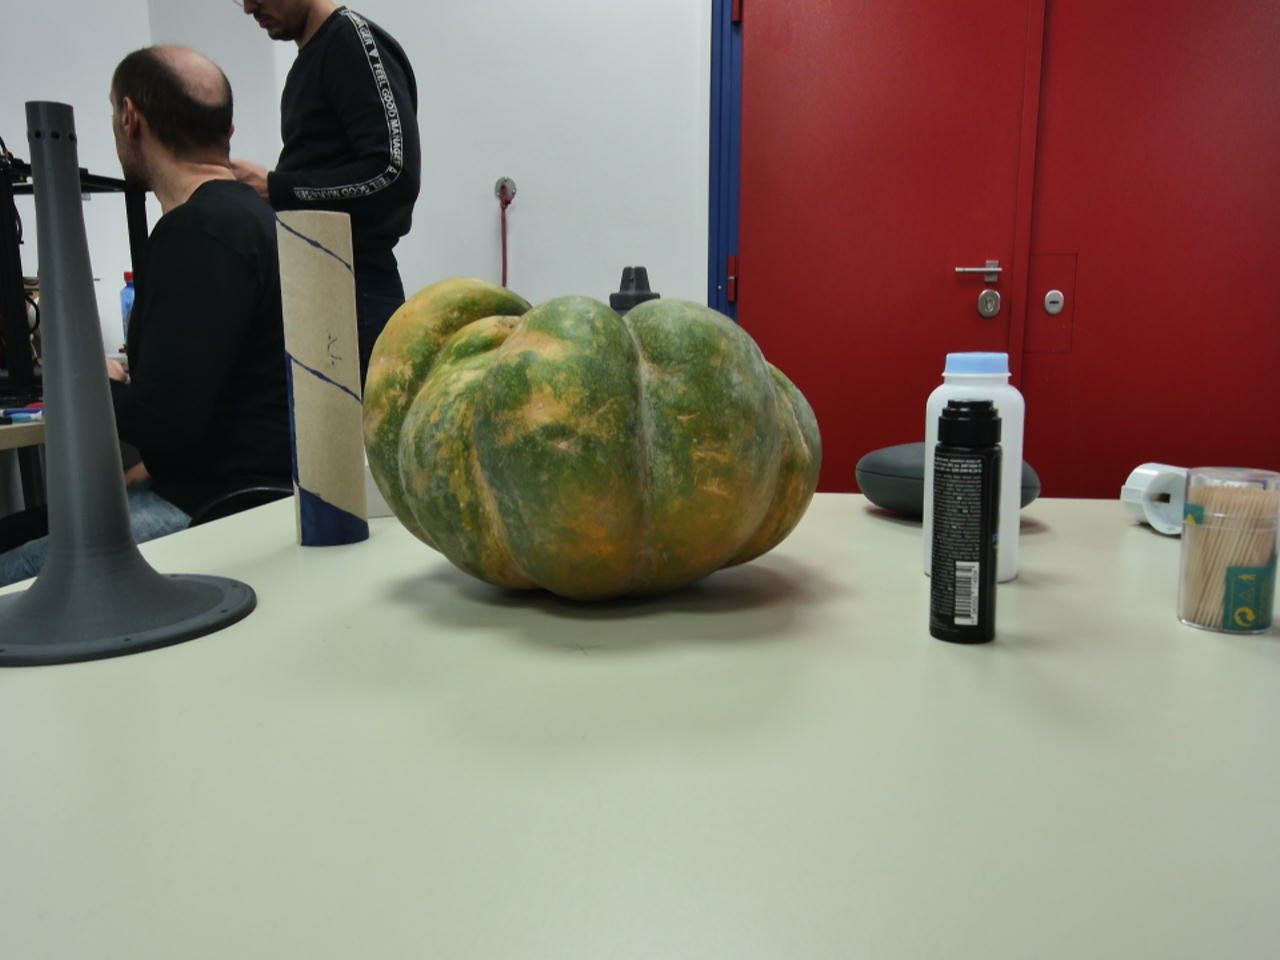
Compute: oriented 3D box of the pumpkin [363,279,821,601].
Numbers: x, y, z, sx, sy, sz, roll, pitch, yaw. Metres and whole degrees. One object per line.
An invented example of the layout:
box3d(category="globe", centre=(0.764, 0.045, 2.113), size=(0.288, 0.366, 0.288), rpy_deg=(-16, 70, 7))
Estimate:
box3d(category="pumpkin", centre=(-0.028, -0.026, 0.573), size=(0.237, 0.173, 0.270), rpy_deg=(-6, 9, -41))
